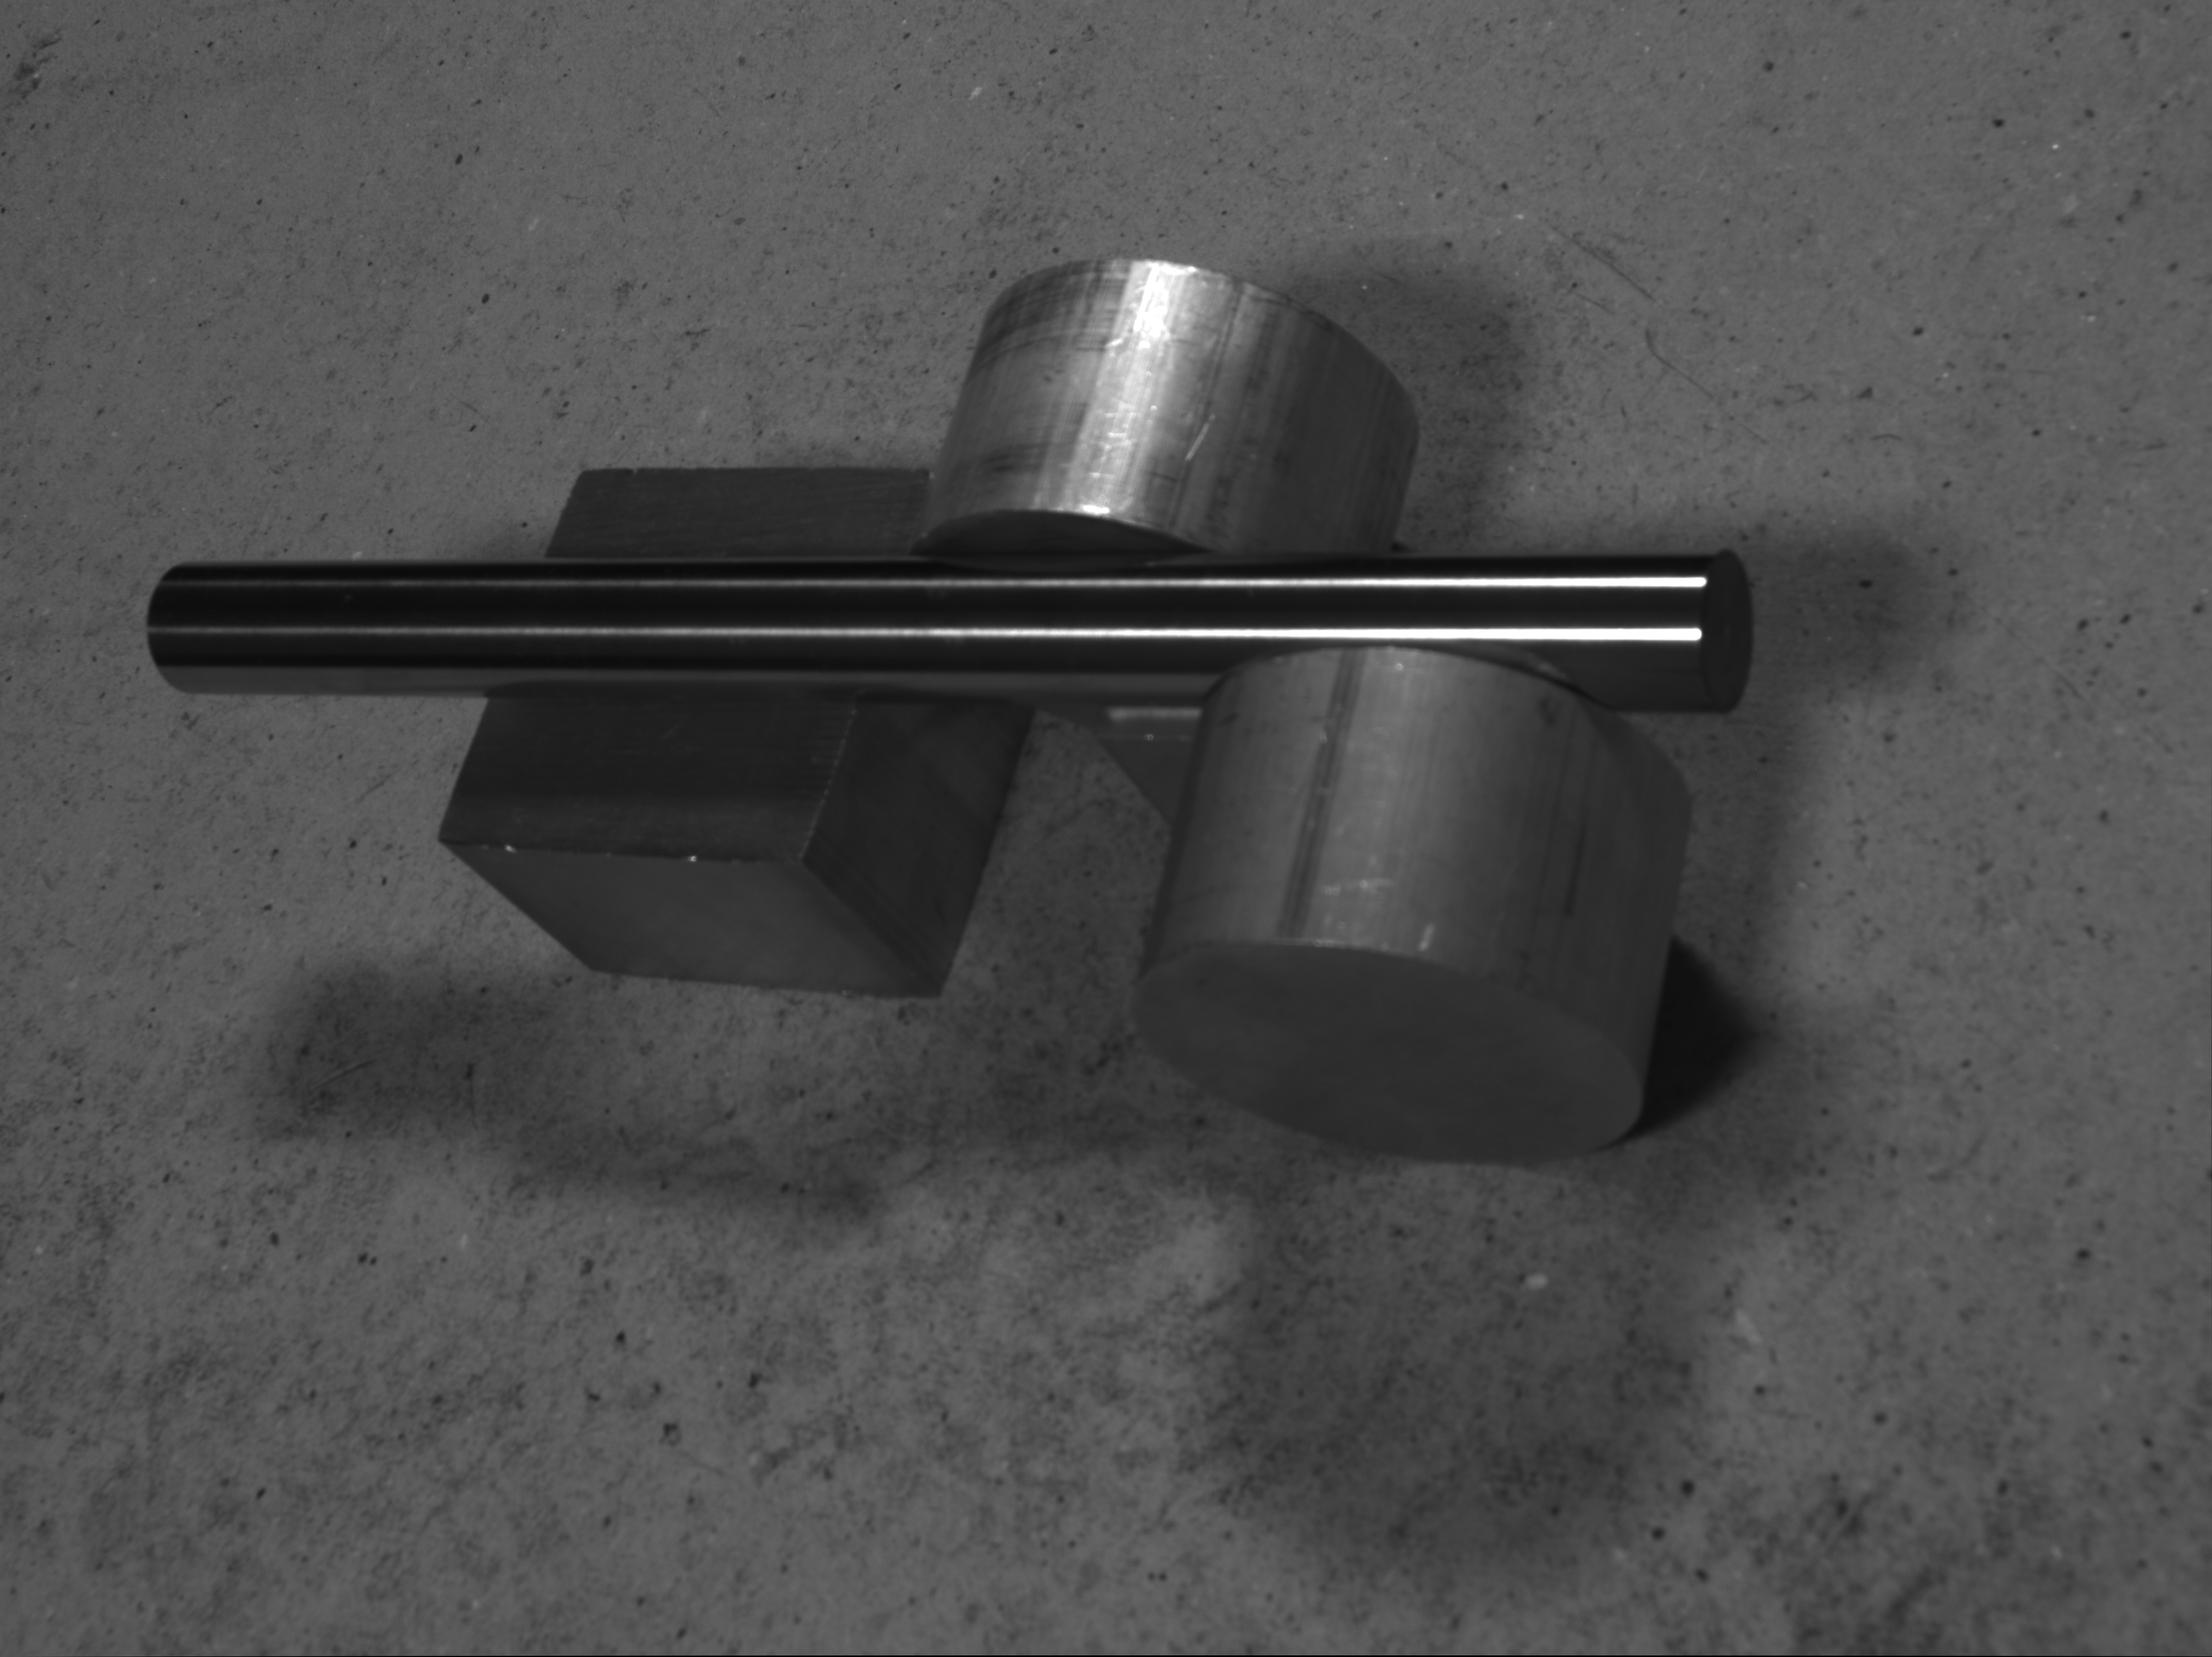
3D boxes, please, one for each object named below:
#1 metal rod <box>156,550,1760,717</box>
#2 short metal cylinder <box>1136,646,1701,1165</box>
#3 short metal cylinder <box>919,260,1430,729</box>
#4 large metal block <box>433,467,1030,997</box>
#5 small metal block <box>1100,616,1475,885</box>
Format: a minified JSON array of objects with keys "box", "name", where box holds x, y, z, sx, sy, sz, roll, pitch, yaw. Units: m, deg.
[{"box":[-0.038,-0.033,0.619,0.299,0.025,0.025,2,62,28],"name":"metal rod"},{"box":[0.049,0.013,0.573,0.080,0.080,0.050,0,61,28],"name":"short metal cylinder"},{"box":[0.012,-0.055,0.637,0.080,0.080,0.050,2,63,29],"name":"short metal cylinder"},{"box":[-0.064,-0.019,0.671,0.080,0.050,0.080,3,63,30],"name":"large metal block"},{"box":[0.034,-0.013,0.617,0.050,0.050,0.025,1,62,29],"name":"small metal block"}]
